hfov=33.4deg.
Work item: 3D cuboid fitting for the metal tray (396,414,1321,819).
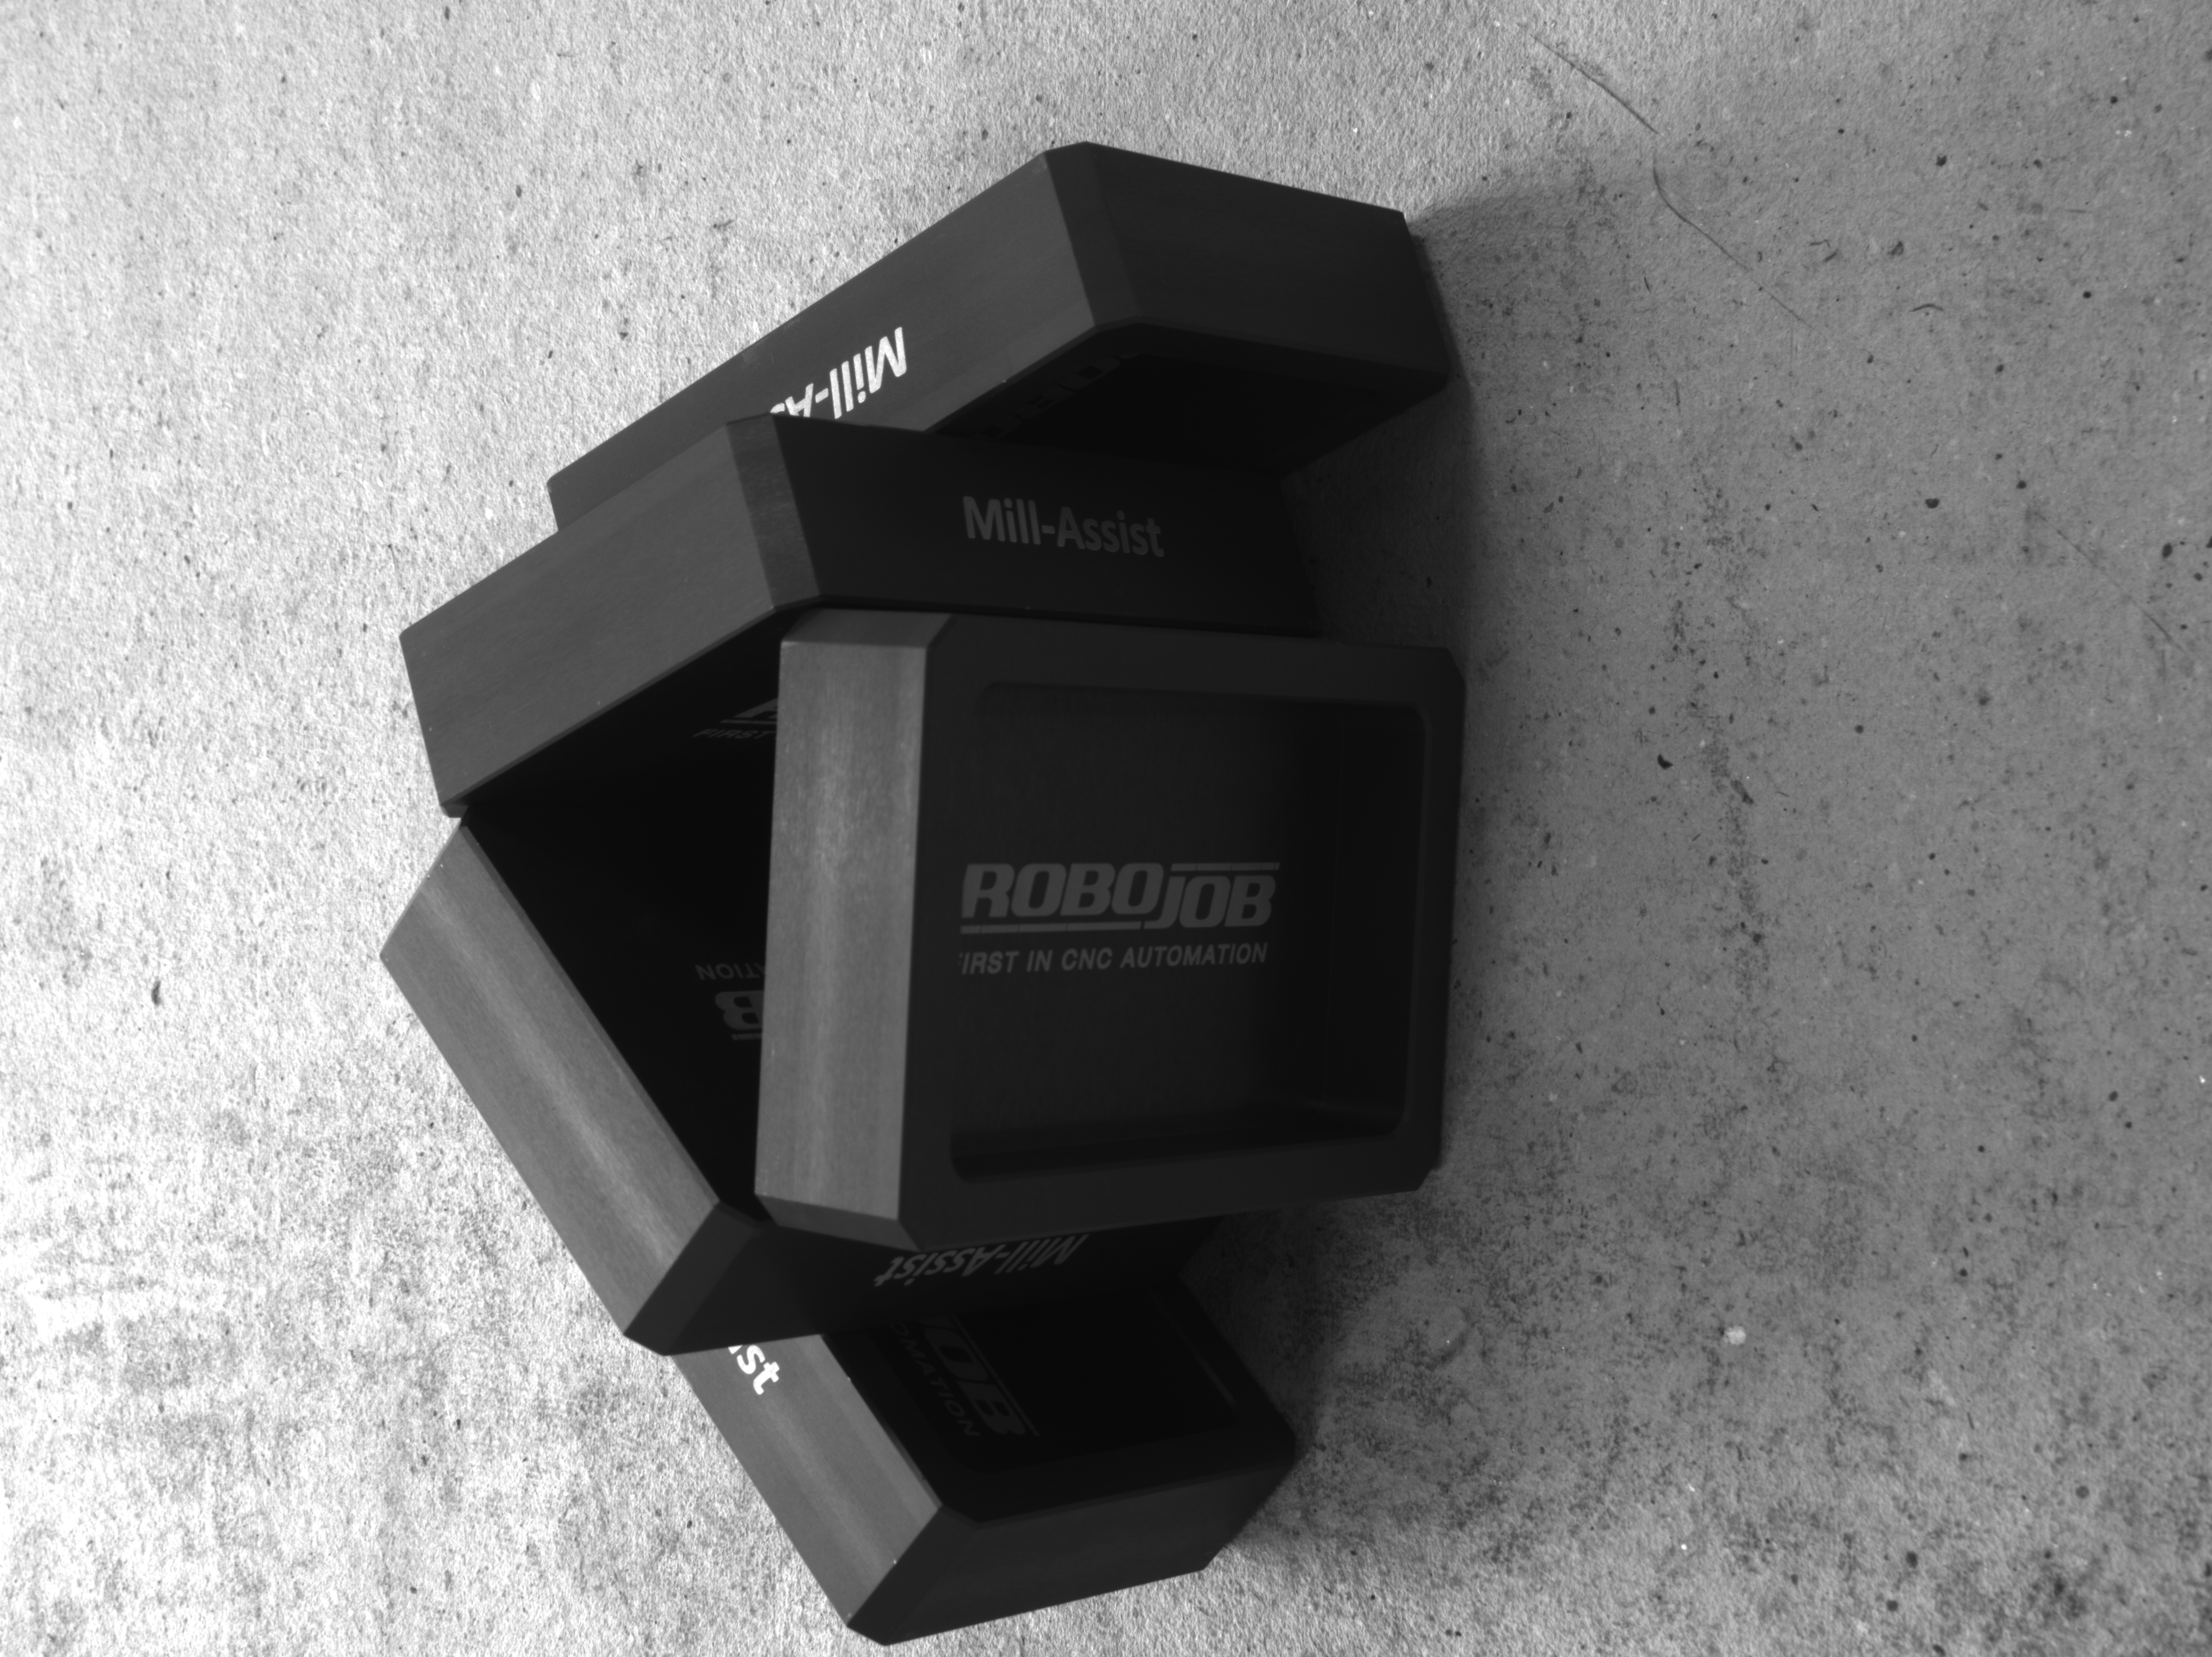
[{"bbox_3d":[-0.038,-0.031,0.608,0.090,0.130,0.030,-26,74,37],"label":"metal tray"}]

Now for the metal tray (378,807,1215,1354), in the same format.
[{"bbox_3d":[-0.045,0.038,0.614,0.090,0.130,0.030,51,120,28],"label":"metal tray"}]

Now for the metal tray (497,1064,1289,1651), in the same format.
[{"bbox_3d":[-0.038,0.074,0.634,0.130,0.090,0.030,51,120,28],"label":"metal tray"}]

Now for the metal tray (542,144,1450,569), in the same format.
[{"bbox_3d":[-0.020,-0.066,0.619,0.130,0.090,0.030,-26,74,37],"label":"metal tray"}]

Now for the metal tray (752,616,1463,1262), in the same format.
[{"bbox_3d":[0.004,0.015,0.572,0.030,0.130,0.090,6,94,40],"label":"metal tray"}]
